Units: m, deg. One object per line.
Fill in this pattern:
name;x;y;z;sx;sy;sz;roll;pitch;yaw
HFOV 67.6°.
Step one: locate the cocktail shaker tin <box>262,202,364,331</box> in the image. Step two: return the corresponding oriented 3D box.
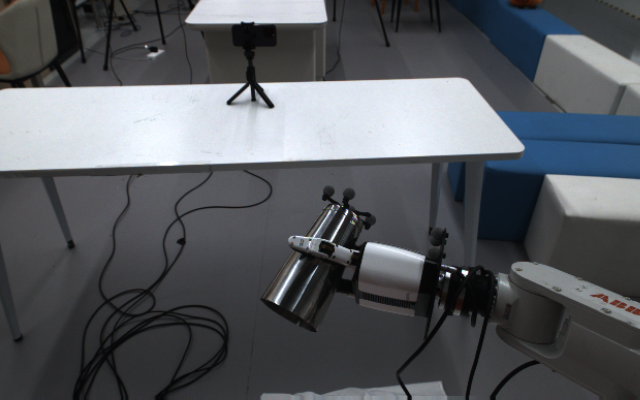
cocktail shaker tin;-0.002;0.089;0.700;0.093;0.093;0.170;20;67;24
